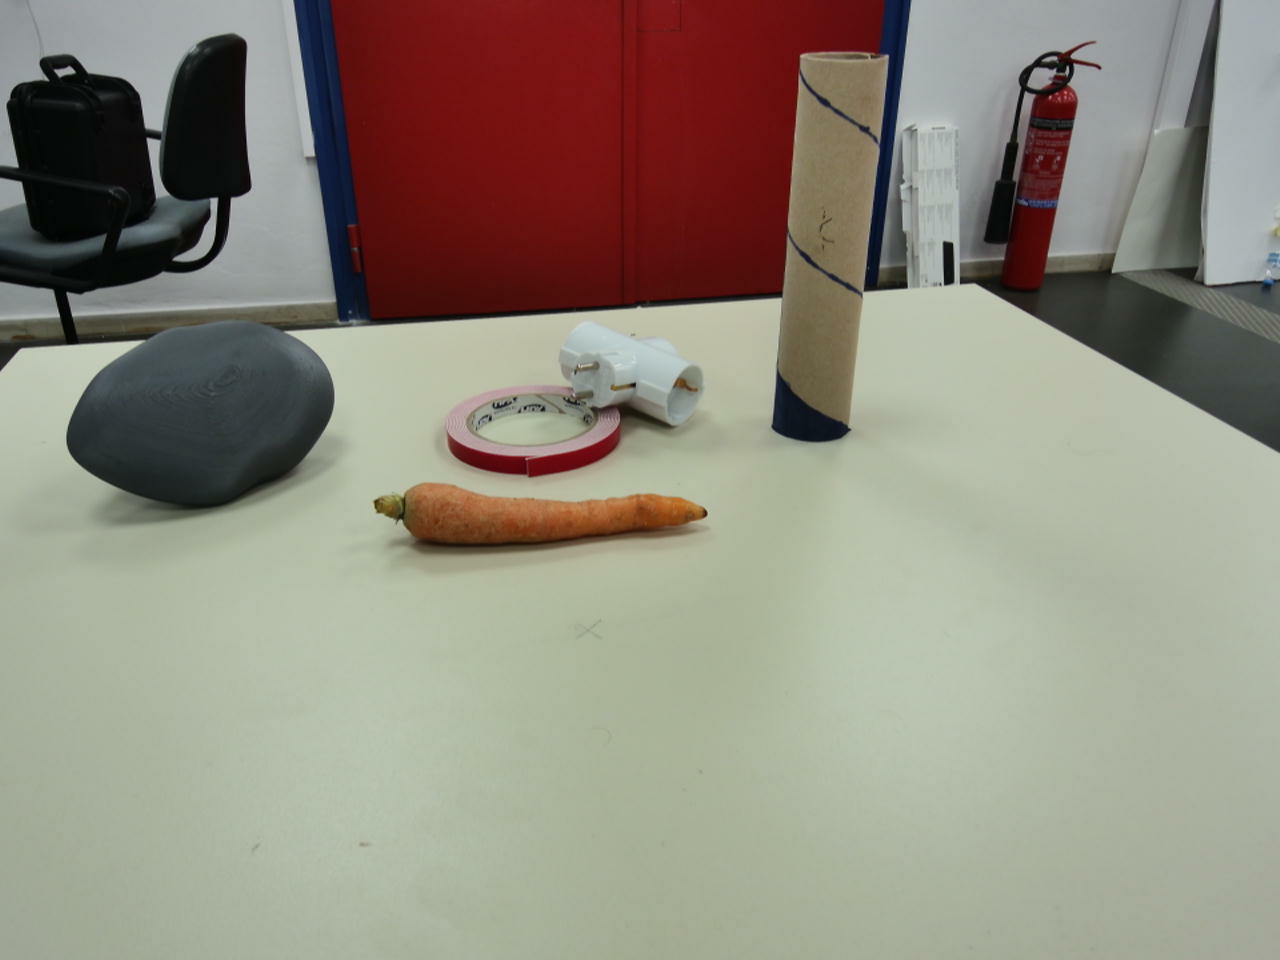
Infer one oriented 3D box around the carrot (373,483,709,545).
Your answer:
[{"bbox_3d":[-0.047,0.016,0.512,0.173,0.032,0.030,-1,26,-3],"label":"carrot"}]
